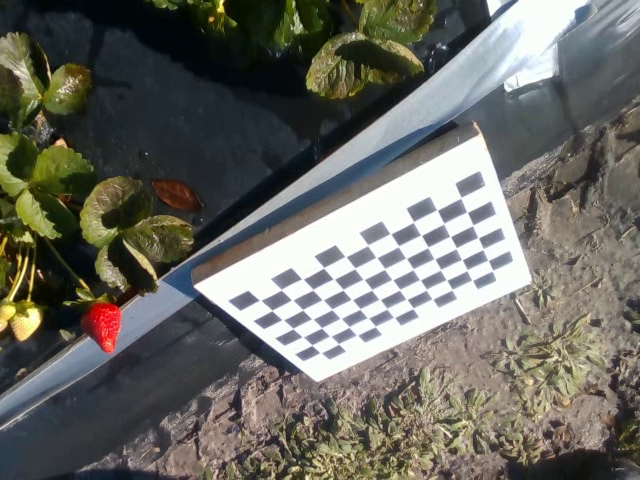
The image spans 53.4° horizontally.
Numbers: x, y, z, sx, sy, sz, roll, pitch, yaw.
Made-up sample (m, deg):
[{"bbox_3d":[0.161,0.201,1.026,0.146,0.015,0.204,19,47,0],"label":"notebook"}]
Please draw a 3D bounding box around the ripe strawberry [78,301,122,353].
[{"bbox_3d":[-0.168,0.070,0.489,0.036,0.046,0.038,-26,-24,15],"label":"ripe strawberry"}]
